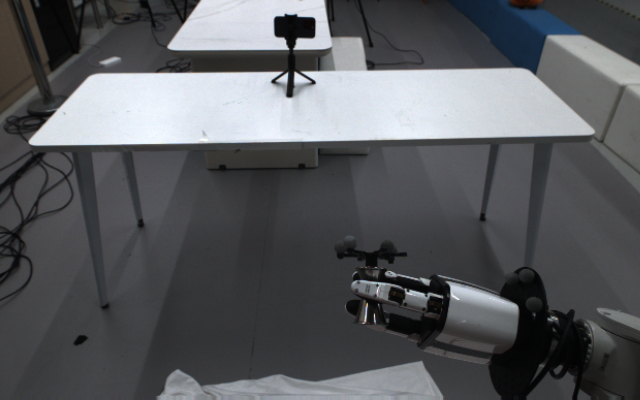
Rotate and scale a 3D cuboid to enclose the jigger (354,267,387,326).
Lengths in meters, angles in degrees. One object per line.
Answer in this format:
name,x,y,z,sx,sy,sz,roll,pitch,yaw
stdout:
jigger,0.062,0.117,0.595,0.043,0.043,0.071,3,76,1
